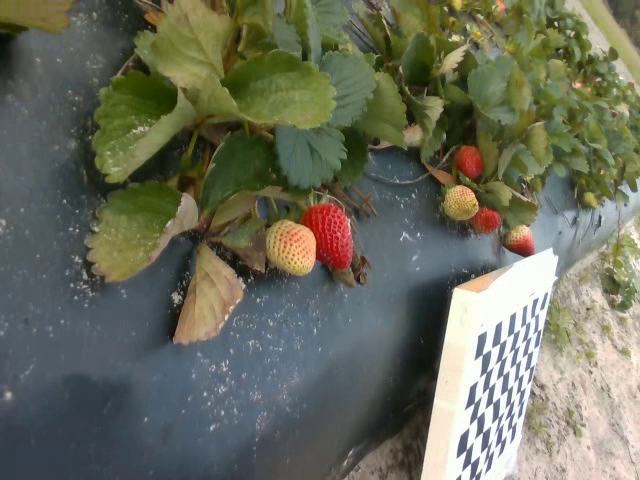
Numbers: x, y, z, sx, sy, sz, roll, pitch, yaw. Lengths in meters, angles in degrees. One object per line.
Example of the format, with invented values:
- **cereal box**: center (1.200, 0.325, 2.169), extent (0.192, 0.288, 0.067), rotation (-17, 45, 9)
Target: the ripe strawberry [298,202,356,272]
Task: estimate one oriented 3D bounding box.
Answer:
- **ripe strawberry**: center (0.006, -0.001, 0.310), extent (0.042, 0.033, 0.034), rotation (49, 2, 38)
